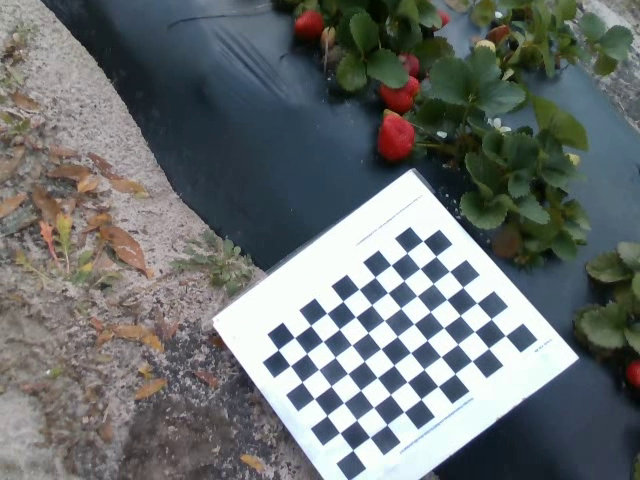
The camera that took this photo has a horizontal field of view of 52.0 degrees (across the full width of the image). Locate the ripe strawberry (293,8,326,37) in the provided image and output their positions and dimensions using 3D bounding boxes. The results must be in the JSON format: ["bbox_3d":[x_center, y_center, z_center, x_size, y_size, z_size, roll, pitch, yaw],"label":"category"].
[{"bbox_3d":[-0.020,-0.294,0.852,0.043,0.041,0.051,31,36,17],"label":"ripe strawberry"}]

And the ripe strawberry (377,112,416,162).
[{"bbox_3d":[0.087,-0.137,0.788,0.057,0.056,0.064,7,-12,26],"label":"ripe strawberry"}]
